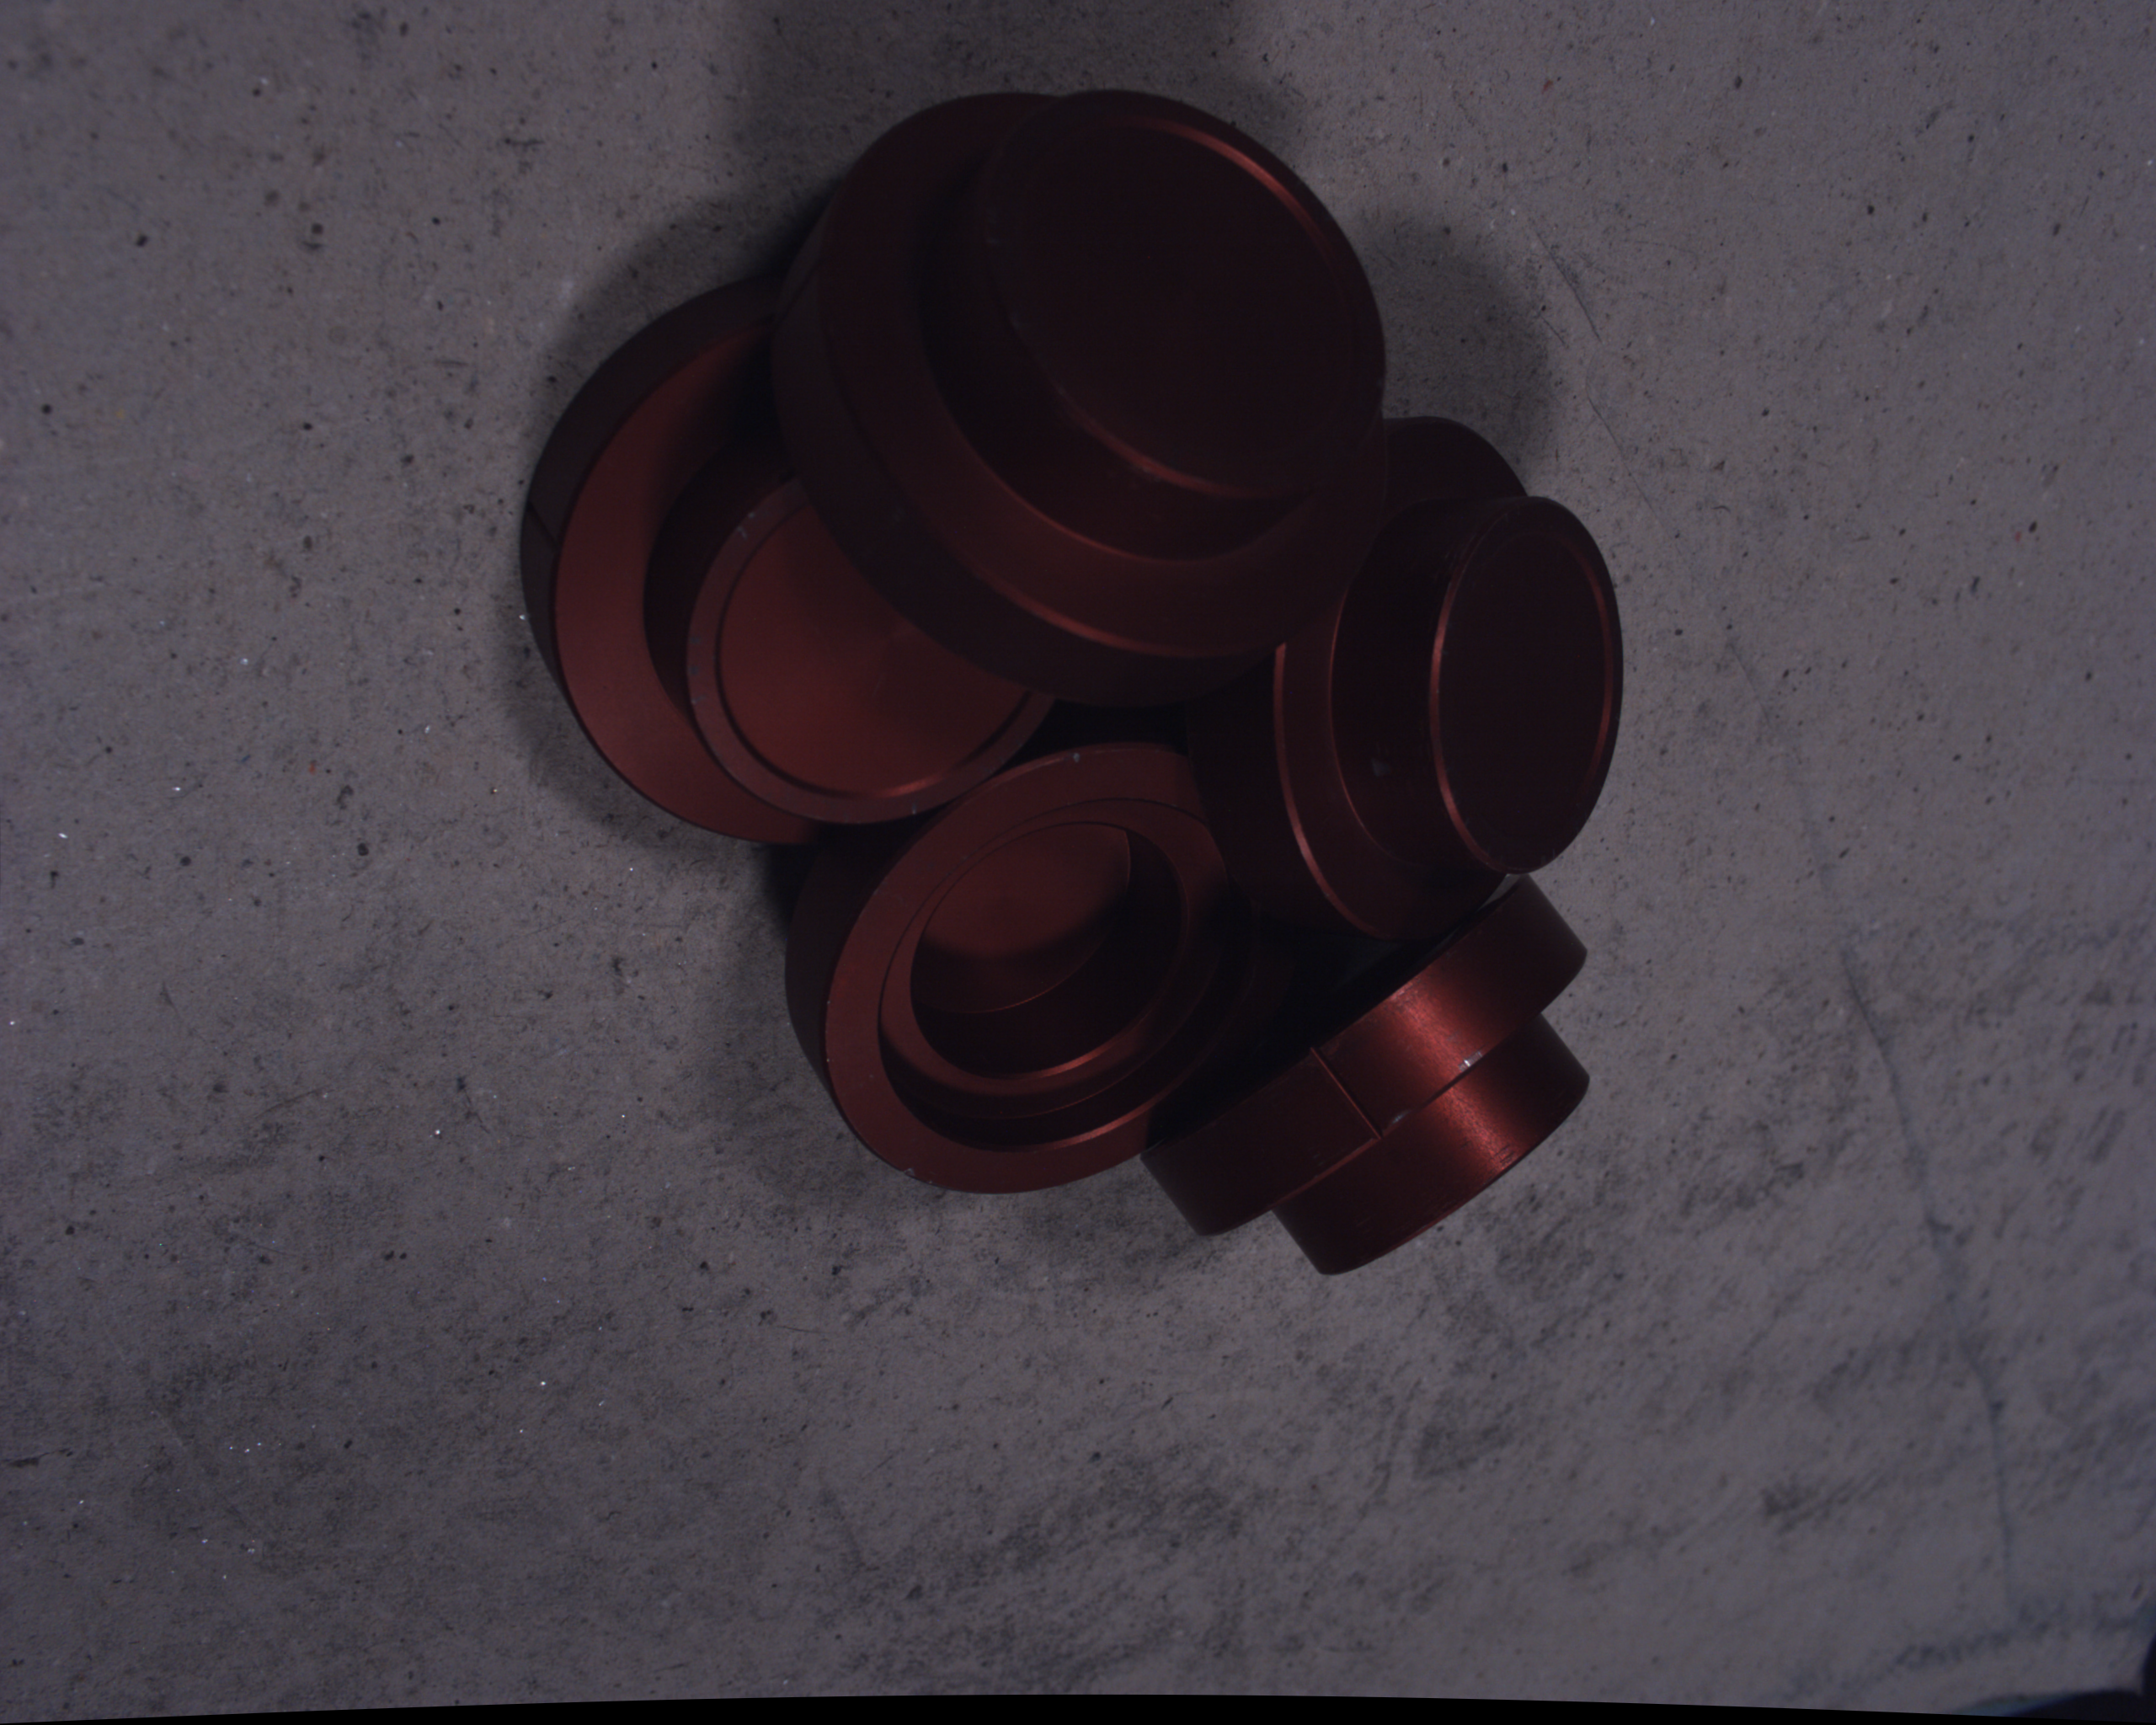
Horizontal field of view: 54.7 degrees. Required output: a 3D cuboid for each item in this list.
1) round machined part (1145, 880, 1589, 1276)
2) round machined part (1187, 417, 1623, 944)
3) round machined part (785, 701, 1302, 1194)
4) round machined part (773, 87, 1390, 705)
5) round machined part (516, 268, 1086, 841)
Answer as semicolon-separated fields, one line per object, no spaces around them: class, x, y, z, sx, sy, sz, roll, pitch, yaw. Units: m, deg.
round machined part;0.065;0.047;0.428;0.098;0.098;0.042;-37;89;-4
round machined part;0.067;-0.033;0.387;0.099;0.042;0.097;-8;101;-49
round machined part;-0.009;0.012;0.401;0.099;0.042;0.097;-14;125;-21
round machined part;0.007;-0.077;0.318;0.099;0.098;0.042;1;160;-29
round machined part;-0.040;-0.046;0.350;0.099;0.042;0.097;-14;125;-21
